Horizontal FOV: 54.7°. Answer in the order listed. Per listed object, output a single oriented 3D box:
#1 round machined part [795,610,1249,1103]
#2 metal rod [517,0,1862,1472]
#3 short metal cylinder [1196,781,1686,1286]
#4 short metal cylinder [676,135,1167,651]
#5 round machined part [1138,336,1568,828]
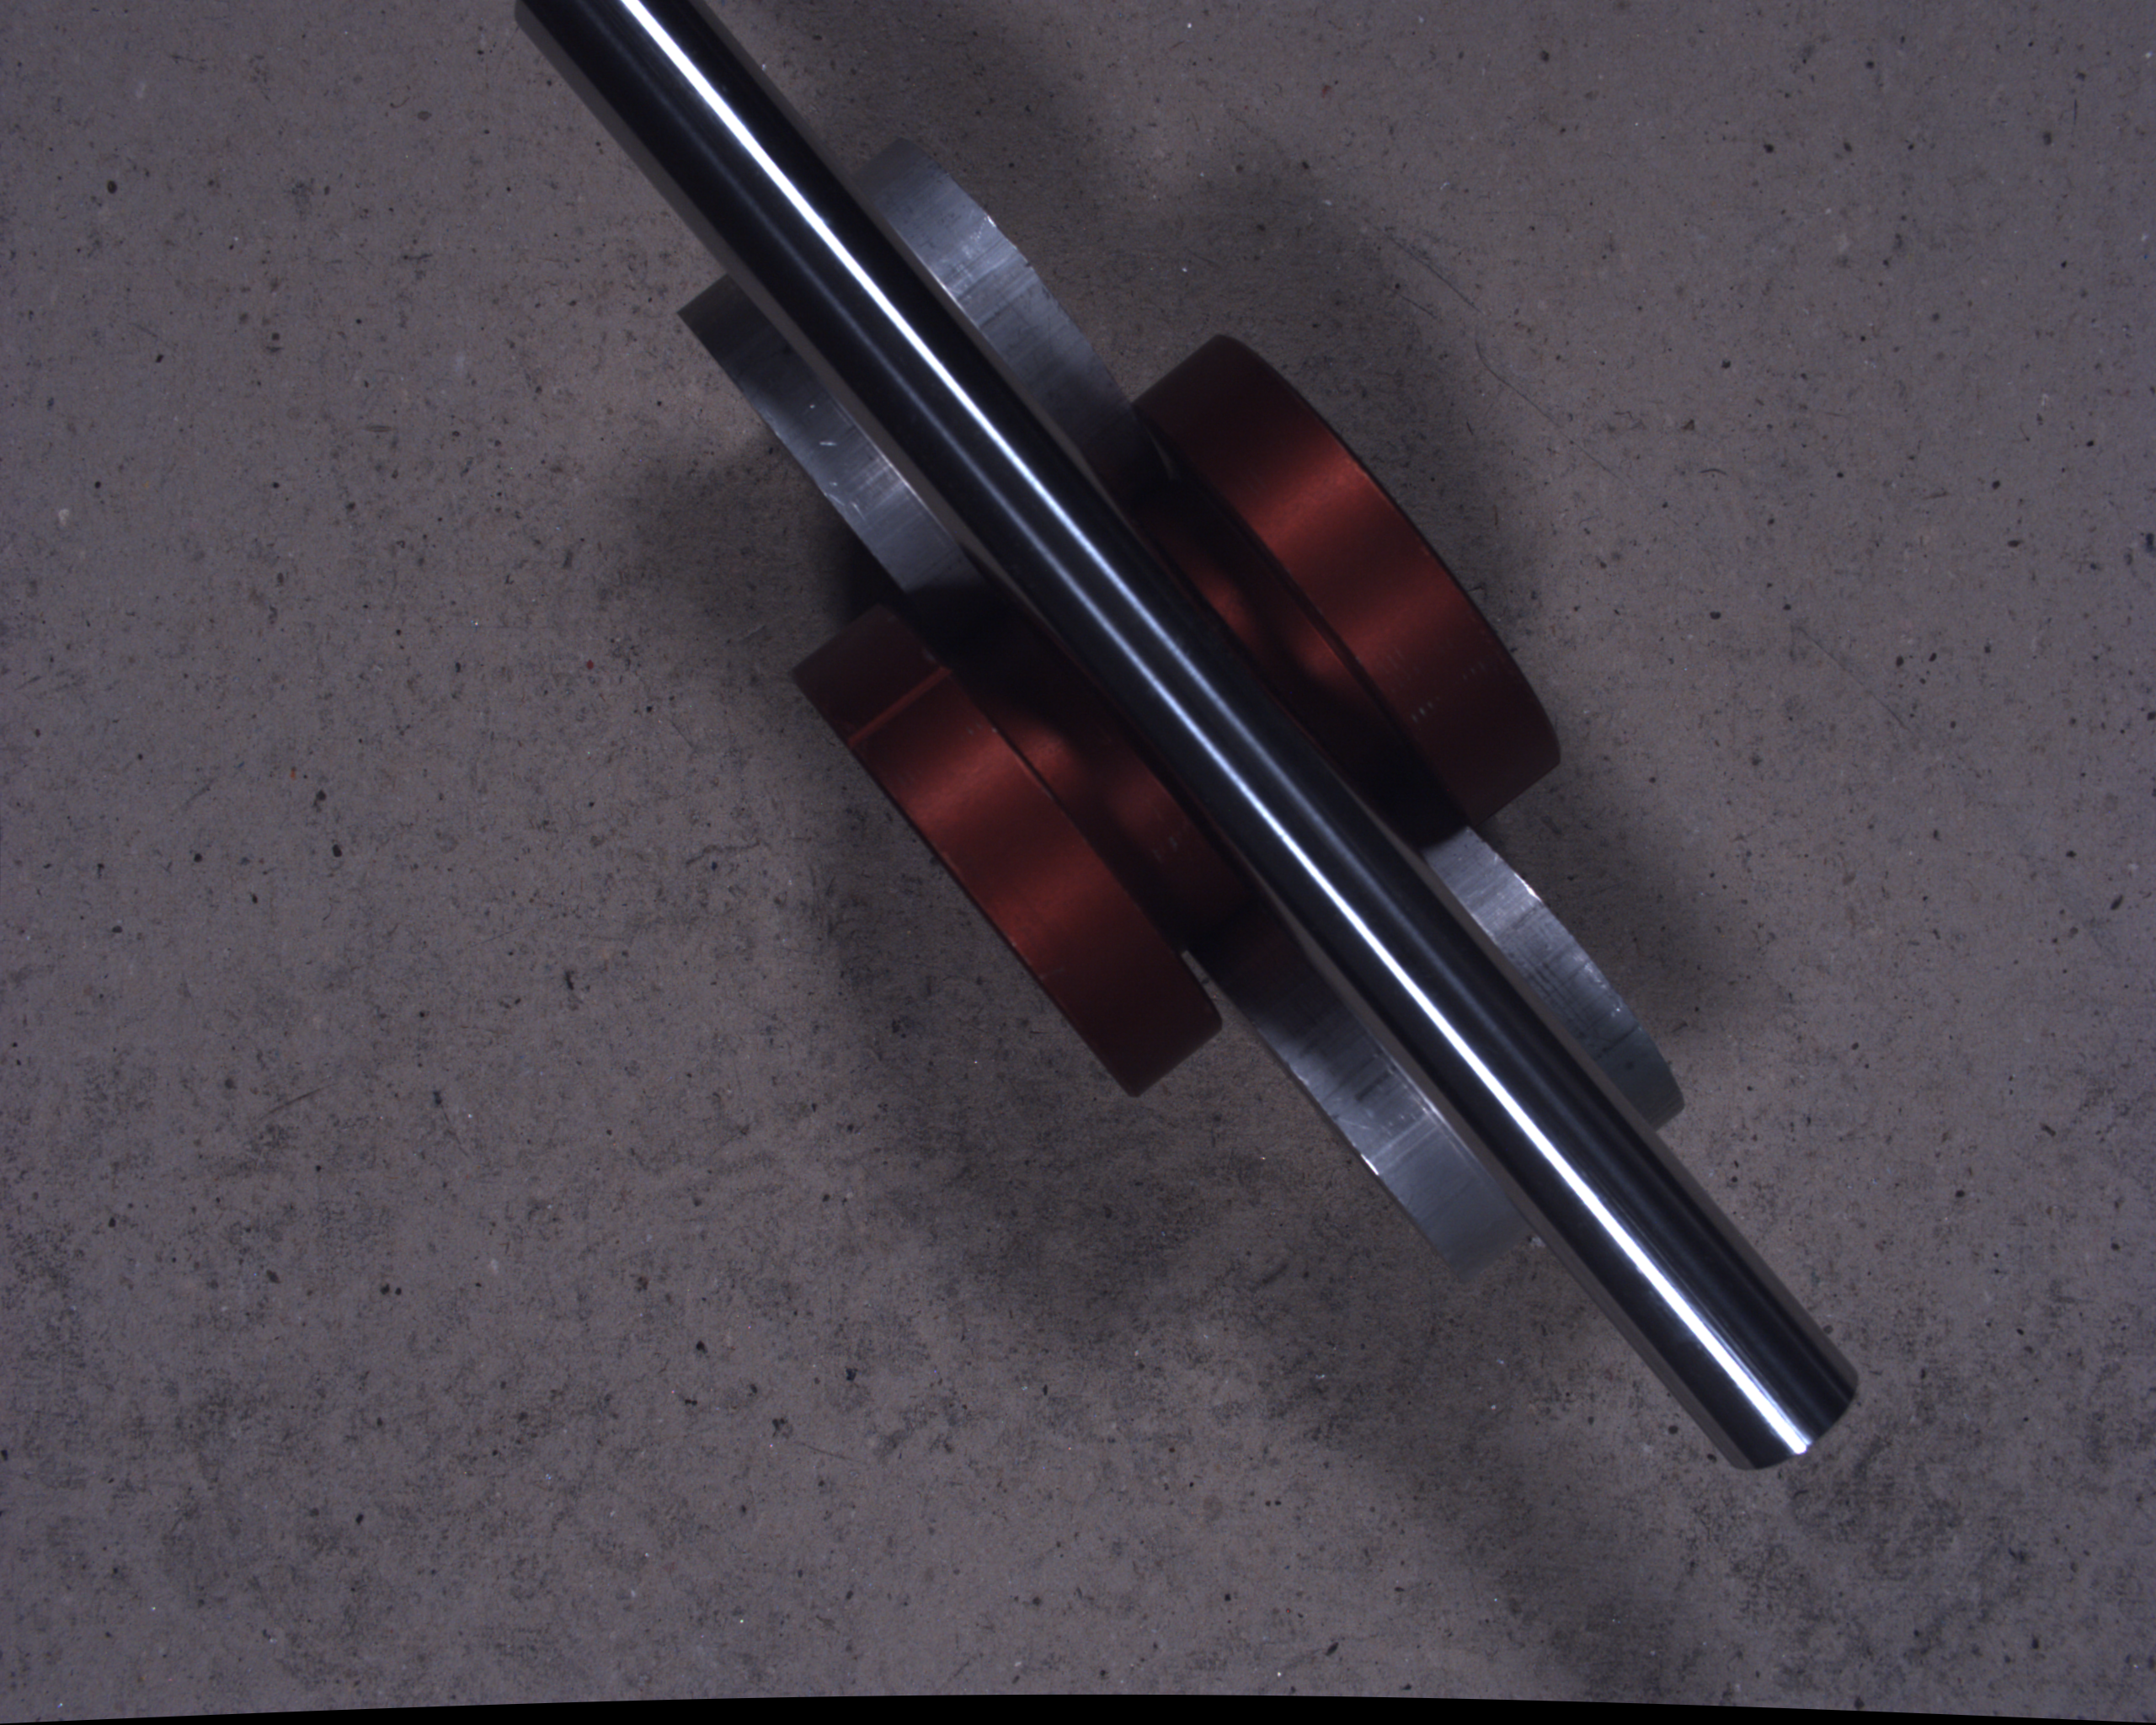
[{"bbox_3d":[-0.004,-0.007,0.373,0.042,0.098,0.098,-39,91,-4],"label":"round machined part"},{"bbox_3d":[0.018,-0.026,0.332,0.025,0.025,0.300,-40,91,0],"label":"metal rod"},{"bbox_3d":[0.065,0.030,0.384,0.050,0.080,0.080,-39,91,0],"label":"short metal cylinder"},{"bbox_3d":[-0.028,-0.084,0.383,0.050,0.080,0.080,-39,91,0],"label":"short metal cylinder"},{"bbox_3d":[0.040,-0.043,0.375,0.042,0.098,0.098,-39,90,5],"label":"round machined part"}]
